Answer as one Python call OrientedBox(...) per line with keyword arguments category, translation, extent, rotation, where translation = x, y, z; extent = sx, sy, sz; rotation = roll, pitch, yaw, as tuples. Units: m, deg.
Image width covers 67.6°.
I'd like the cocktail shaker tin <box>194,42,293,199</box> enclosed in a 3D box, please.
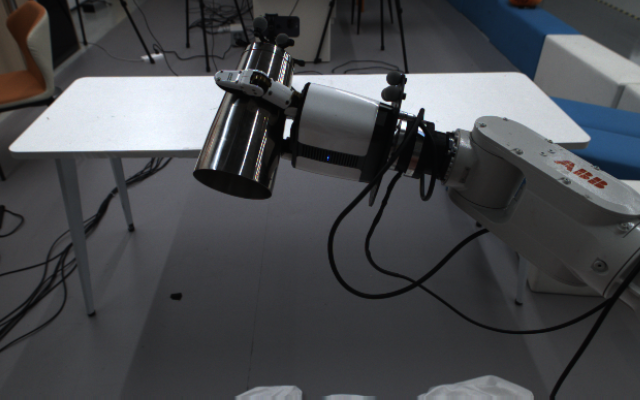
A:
OrientedBox(category="cocktail shaker tin", translation=(-0.081, -0.095, 0.572), extent=(0.093, 0.093, 0.170), rotation=(10, 73, 12))
